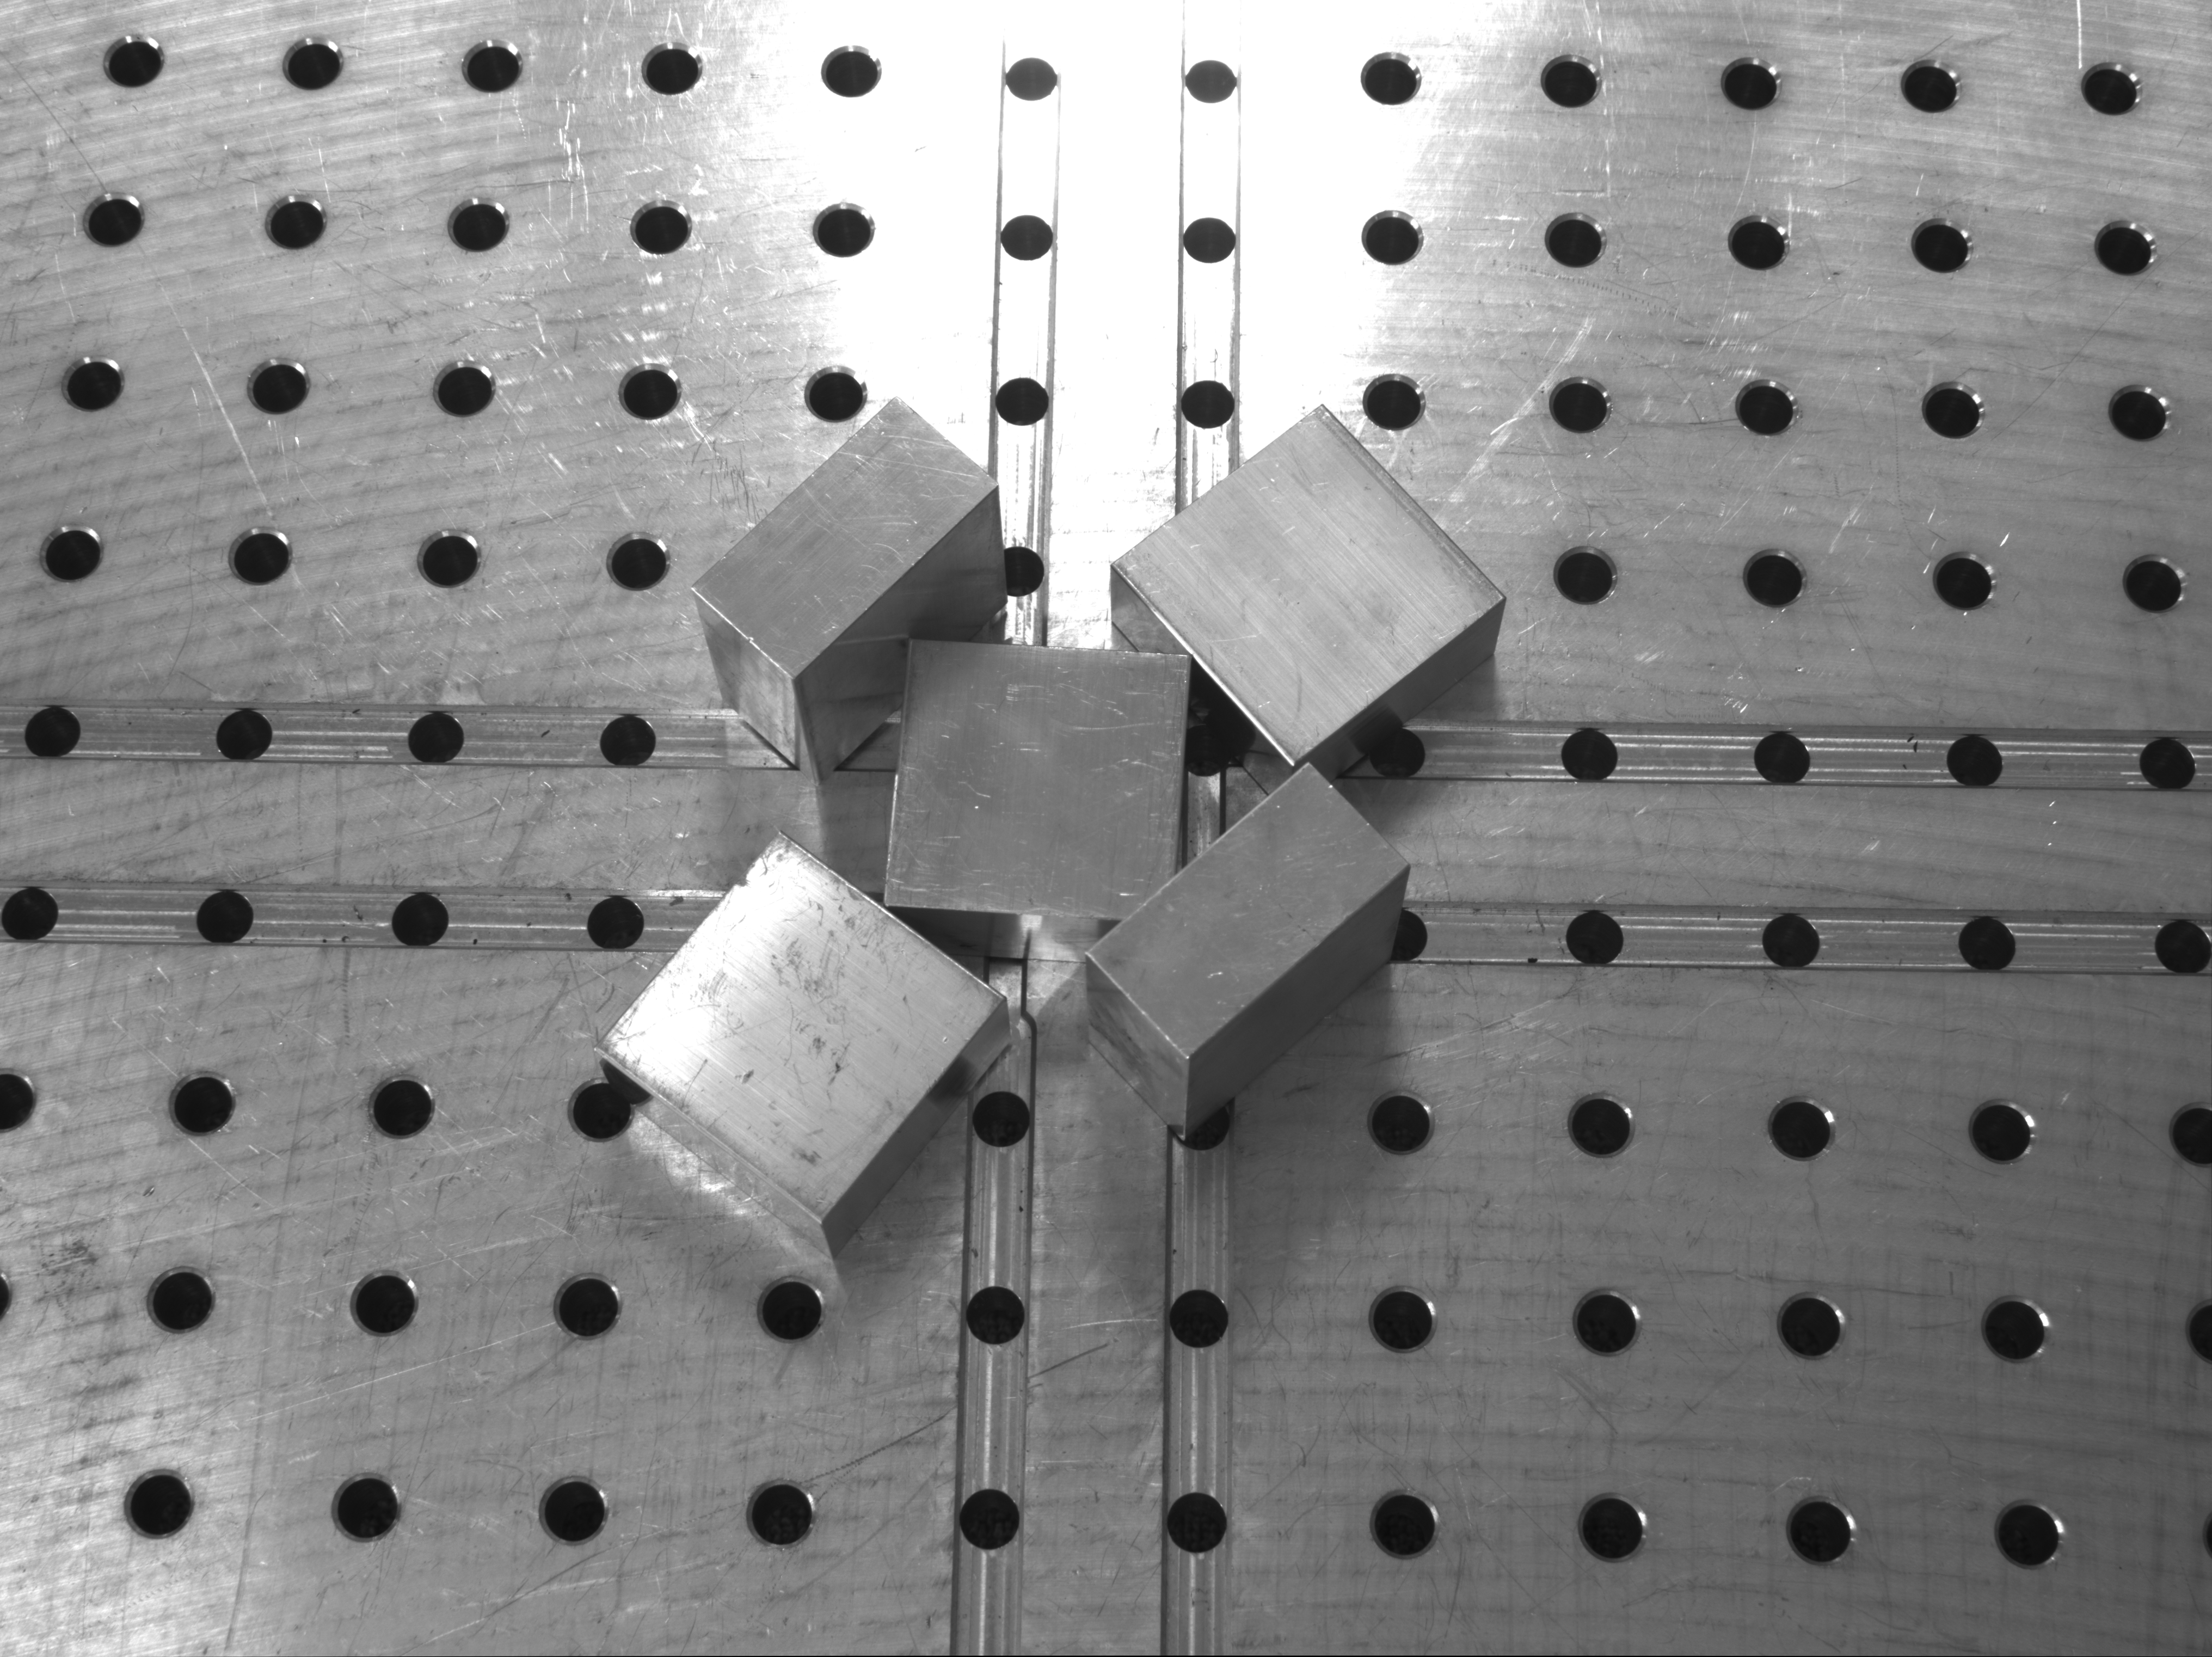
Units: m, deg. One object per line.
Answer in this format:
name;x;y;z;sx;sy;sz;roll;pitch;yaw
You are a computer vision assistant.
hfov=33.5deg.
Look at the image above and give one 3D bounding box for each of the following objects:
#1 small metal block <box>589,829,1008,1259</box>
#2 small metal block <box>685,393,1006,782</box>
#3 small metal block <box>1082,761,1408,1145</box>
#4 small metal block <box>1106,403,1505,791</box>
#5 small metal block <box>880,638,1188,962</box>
small metal block;-0.052;0.037;0.634;0.050;0.025;0.050;36;73;12
small metal block;-0.045;-0.042;0.650;0.025;0.050;0.050;42;76;13
small metal block;0.023;0.022;0.626;0.050;0.050;0.025;-40;74;-13
small metal block;0.035;-0.039;0.662;0.050;0.025;0.050;-38;74;-12
small metal block;-0.012;-0.004;0.649;0.050;0.025;0.050;3;69;3
